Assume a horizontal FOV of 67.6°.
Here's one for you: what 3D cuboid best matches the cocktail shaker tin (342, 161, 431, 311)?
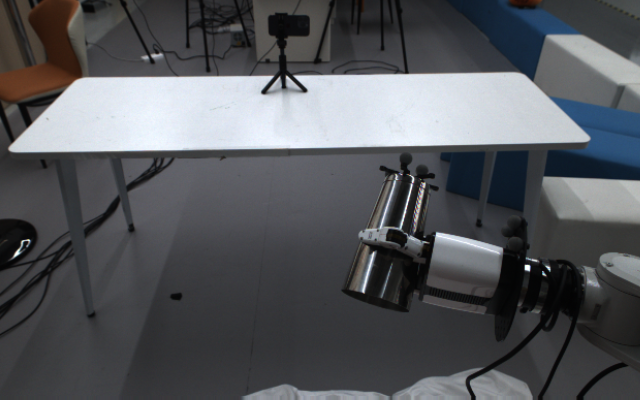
[{"bbox_3d":[0.097,0.055,0.651,0.093,0.093,0.170,14,73,17],"label":"cocktail shaker tin"}]
